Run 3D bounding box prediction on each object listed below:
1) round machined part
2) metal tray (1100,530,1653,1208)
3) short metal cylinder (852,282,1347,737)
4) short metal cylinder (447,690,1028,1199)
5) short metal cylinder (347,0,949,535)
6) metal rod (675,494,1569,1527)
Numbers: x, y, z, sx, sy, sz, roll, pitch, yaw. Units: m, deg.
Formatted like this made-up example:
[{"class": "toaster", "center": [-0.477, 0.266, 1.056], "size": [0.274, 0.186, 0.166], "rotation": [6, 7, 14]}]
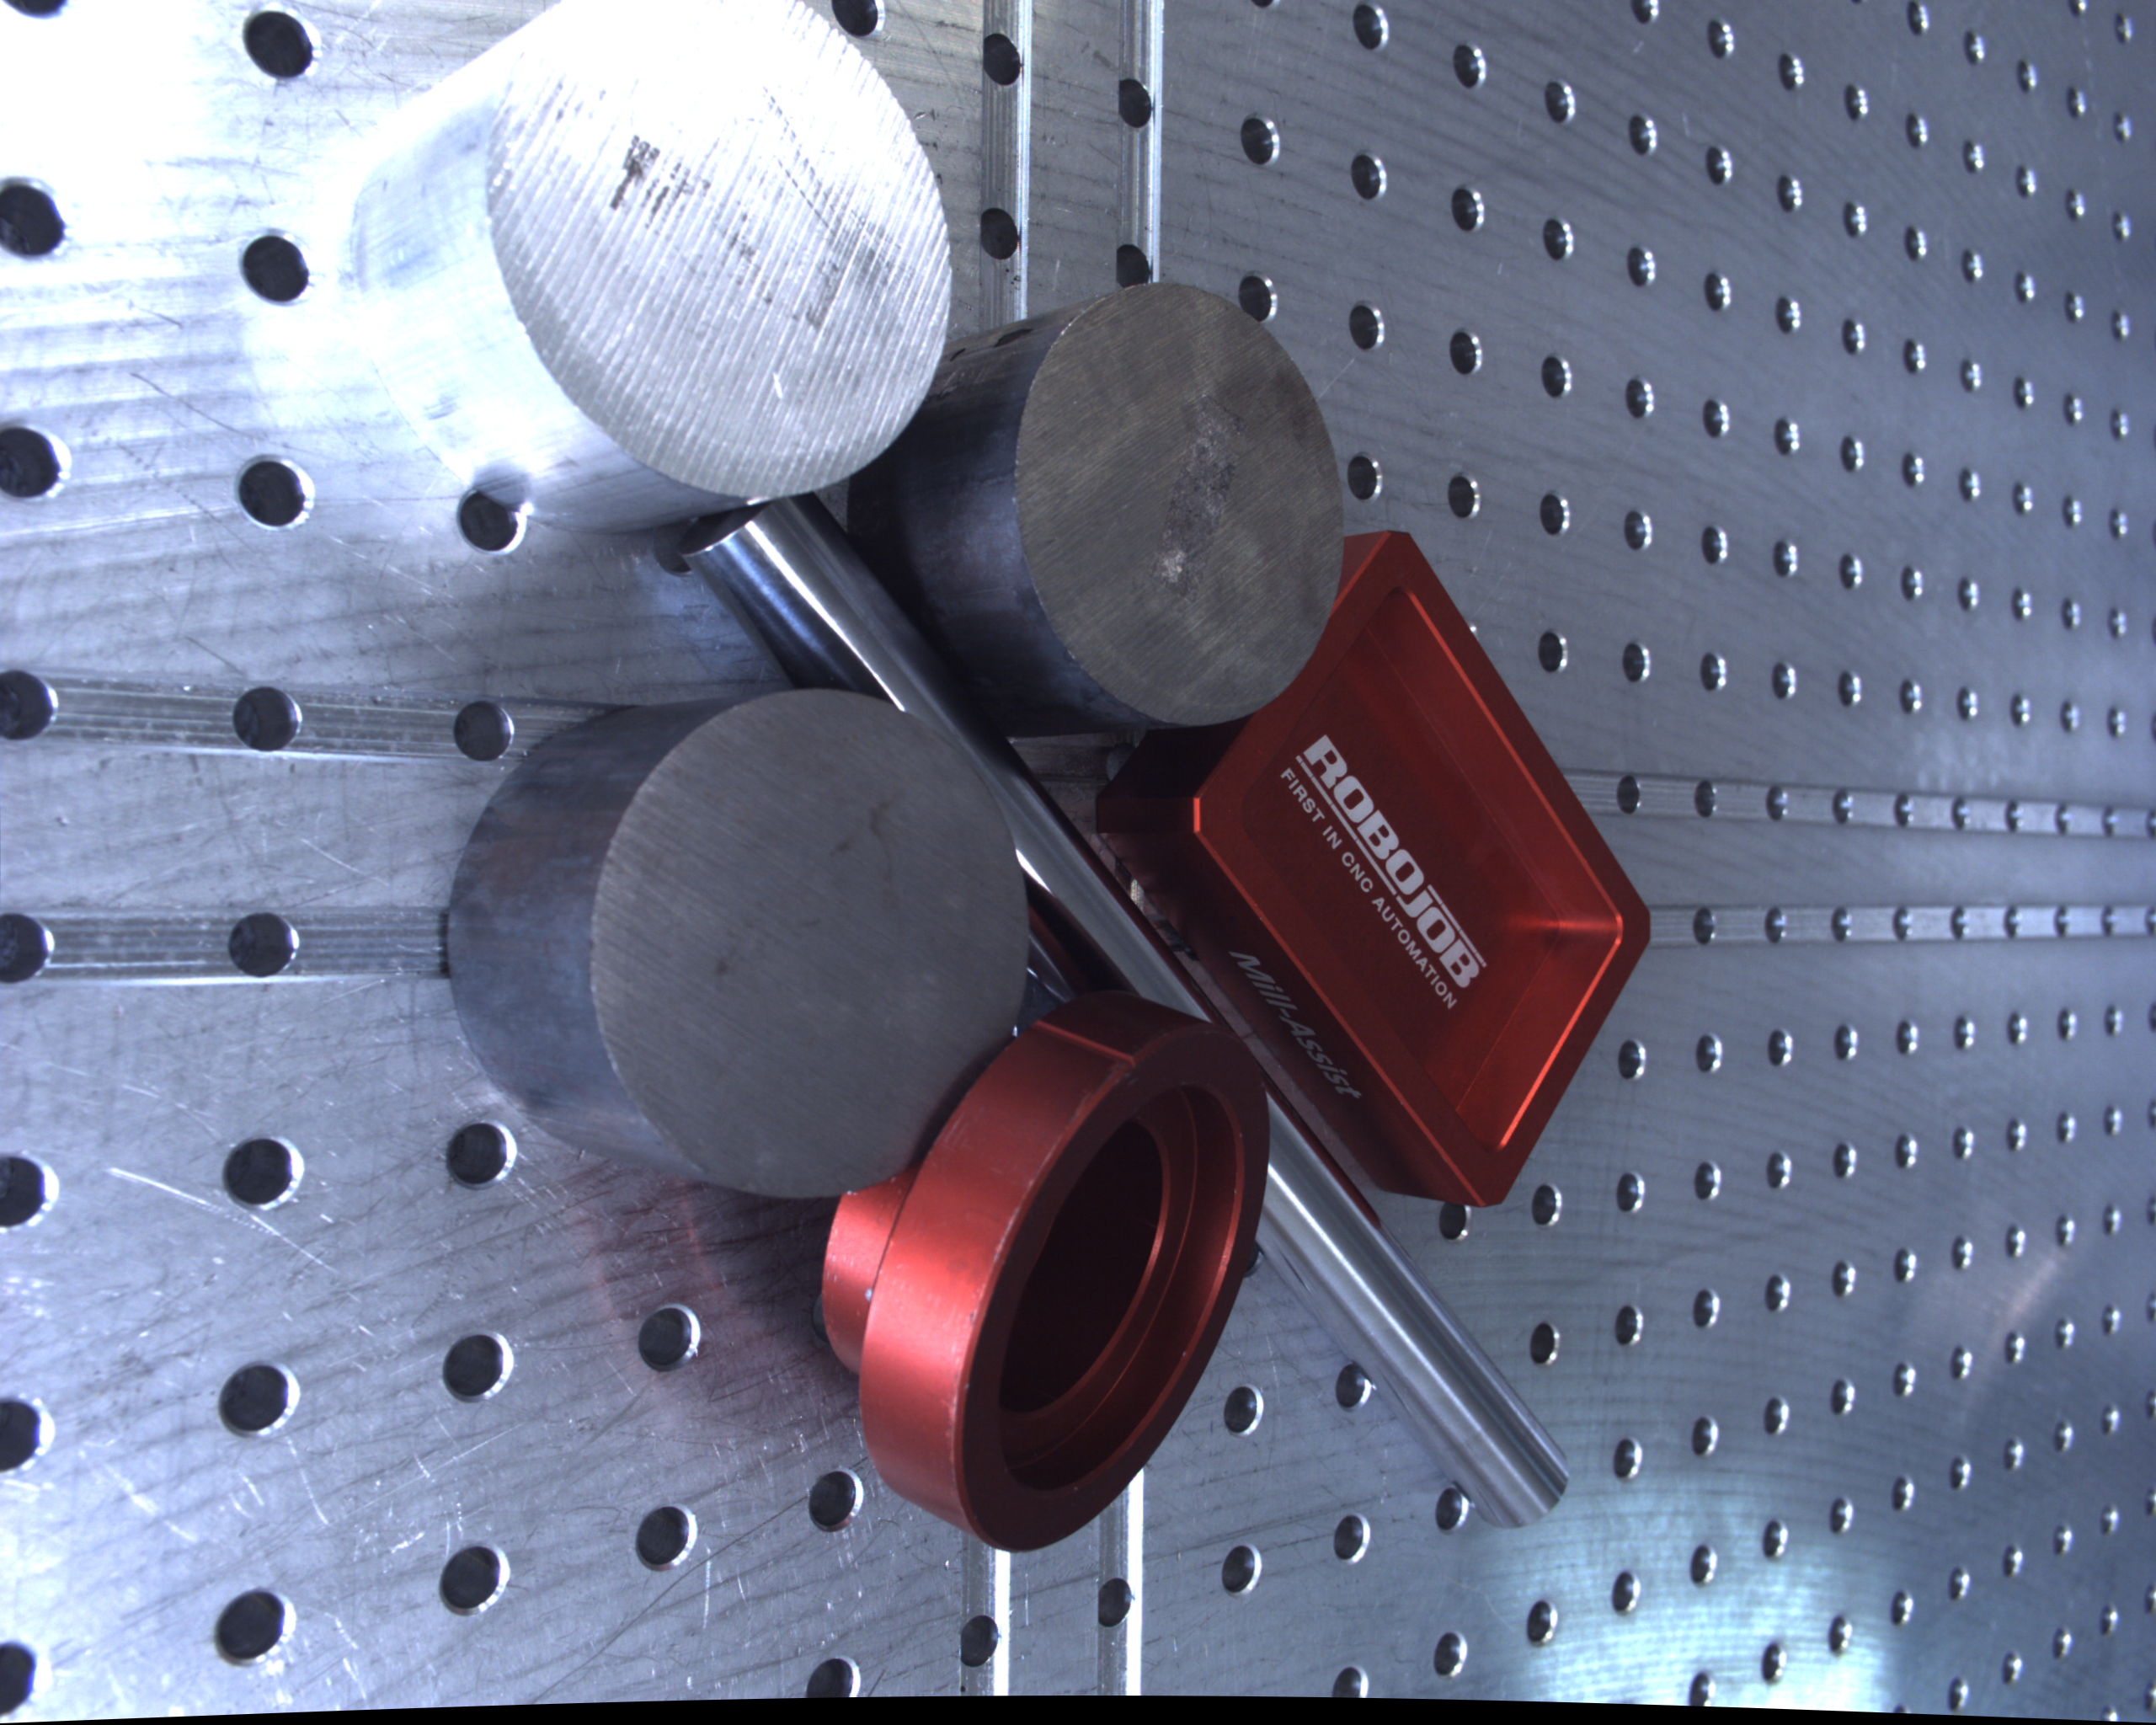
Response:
[{"class": "round machined part", "center": [-0.009, 0.069, 0.376], "size": [0.099, 0.042, 0.097], "rotation": [-34, 133, -47]}, {"class": "metal tray", "center": [0.071, 0.003, 0.464], "size": [0.130, 0.030, 0.090], "rotation": [51, 61, -28]}, {"class": "short metal cylinder", "center": [0.005, -0.065, 0.396], "size": [0.081, 0.050, 0.080], "rotation": [0, 90, -40]}, {"class": "short metal cylinder", "center": [-0.056, 0.013, 0.346], "size": [0.081, 0.050, 0.080], "rotation": [0, 90, -40]}, {"class": "short metal cylinder", "center": [-0.068, -0.095, 0.335], "size": [0.081, 0.050, 0.080], "rotation": [0, 90, -40]}, {"class": "metal rod", "center": [0.023, 0.043, 0.429], "size": [0.300, 0.025, 0.025], "rotation": [52, 60, -27]}]
